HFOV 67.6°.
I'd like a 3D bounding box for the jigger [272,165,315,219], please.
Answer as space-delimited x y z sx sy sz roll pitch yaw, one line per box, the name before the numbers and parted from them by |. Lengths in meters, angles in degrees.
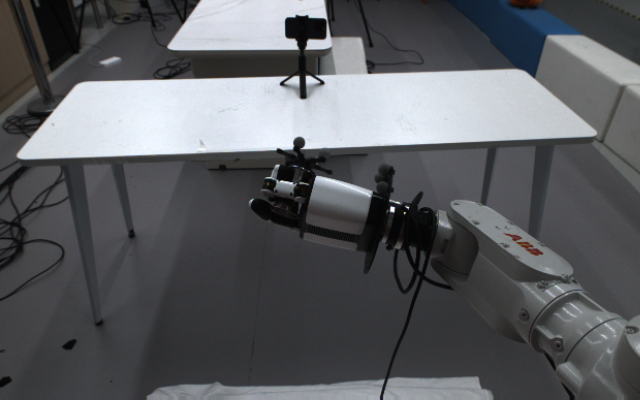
jigger | -0.039 -0.013 0.700 0.043 0.043 0.071 15 70 18
